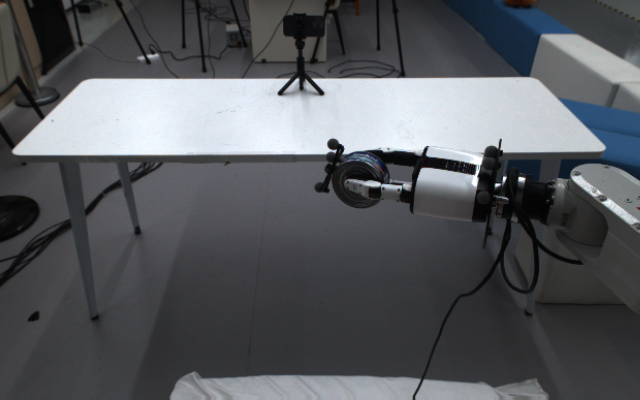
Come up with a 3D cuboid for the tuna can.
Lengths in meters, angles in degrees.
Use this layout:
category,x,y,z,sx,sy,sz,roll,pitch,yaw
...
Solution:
category,x,y,z,sx,sy,sz,roll,pitch,yaw
tuna can,0.065,-0.030,0.750,0.085,0.085,0.034,12,30,15
